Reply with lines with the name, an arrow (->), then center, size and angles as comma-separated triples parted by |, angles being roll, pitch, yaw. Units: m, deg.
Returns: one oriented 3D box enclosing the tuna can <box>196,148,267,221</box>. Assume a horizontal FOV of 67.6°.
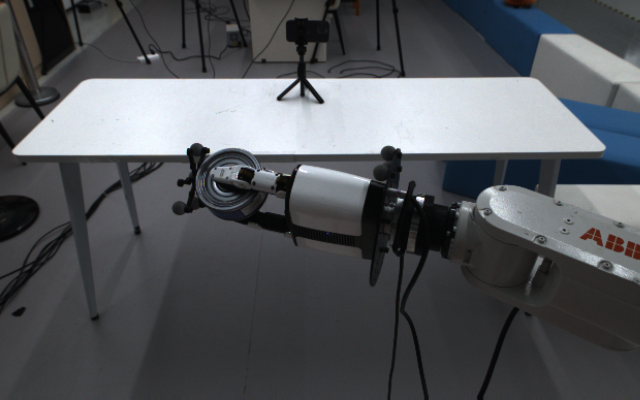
tuna can -> -0.106, -0.021, 0.594 | 0.085, 0.034, 0.085 | -3, 69, 6
